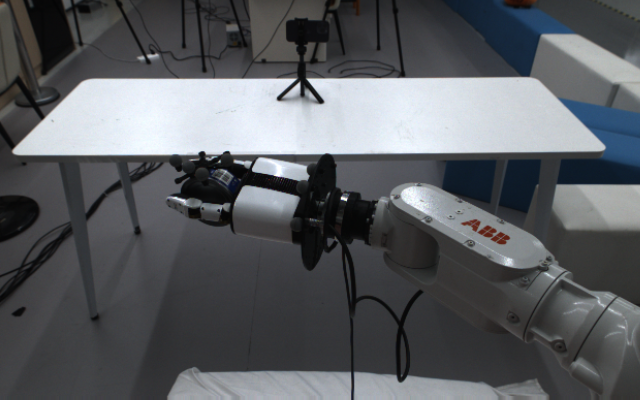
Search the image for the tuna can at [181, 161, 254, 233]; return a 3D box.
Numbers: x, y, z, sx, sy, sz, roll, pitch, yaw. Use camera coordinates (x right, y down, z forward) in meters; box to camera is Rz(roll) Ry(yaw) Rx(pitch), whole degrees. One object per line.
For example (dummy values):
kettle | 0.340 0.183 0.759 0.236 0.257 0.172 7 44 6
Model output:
tuna can | -0.149 -0.005 0.682 0.085 0.085 0.034 10 38 12
